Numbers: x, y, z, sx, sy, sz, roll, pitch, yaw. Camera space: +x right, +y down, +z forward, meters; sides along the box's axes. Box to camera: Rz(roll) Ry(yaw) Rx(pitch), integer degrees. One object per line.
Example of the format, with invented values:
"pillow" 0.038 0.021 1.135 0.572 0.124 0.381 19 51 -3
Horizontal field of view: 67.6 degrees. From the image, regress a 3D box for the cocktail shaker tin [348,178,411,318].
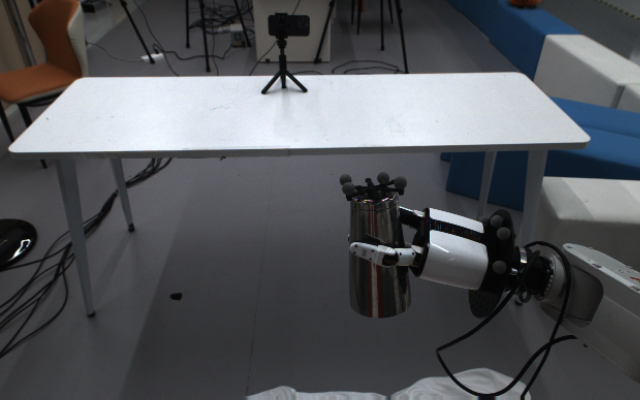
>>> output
"cocktail shaker tin" 0.083 0.071 0.696 0.093 0.170 0.093 -6 19 2
